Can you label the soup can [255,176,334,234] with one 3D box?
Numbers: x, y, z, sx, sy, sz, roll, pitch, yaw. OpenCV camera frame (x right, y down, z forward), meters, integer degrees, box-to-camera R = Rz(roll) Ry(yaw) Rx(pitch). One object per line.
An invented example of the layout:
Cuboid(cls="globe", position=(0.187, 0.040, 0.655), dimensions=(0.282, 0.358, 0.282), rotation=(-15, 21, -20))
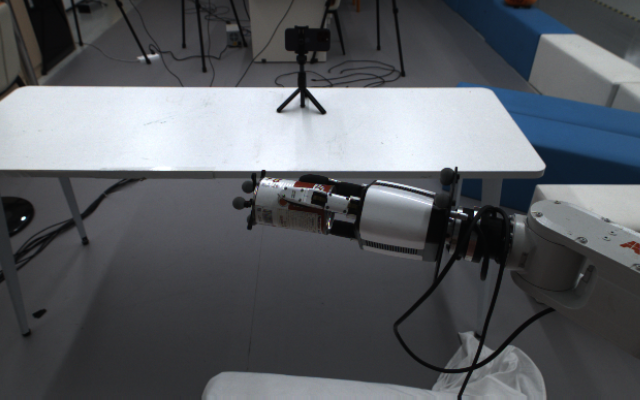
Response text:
Cuboid(cls="soup can", position=(-0.031, 0.007, 0.660), dimensions=(0.101, 0.067, 0.067), rotation=(7, 35, 10))
